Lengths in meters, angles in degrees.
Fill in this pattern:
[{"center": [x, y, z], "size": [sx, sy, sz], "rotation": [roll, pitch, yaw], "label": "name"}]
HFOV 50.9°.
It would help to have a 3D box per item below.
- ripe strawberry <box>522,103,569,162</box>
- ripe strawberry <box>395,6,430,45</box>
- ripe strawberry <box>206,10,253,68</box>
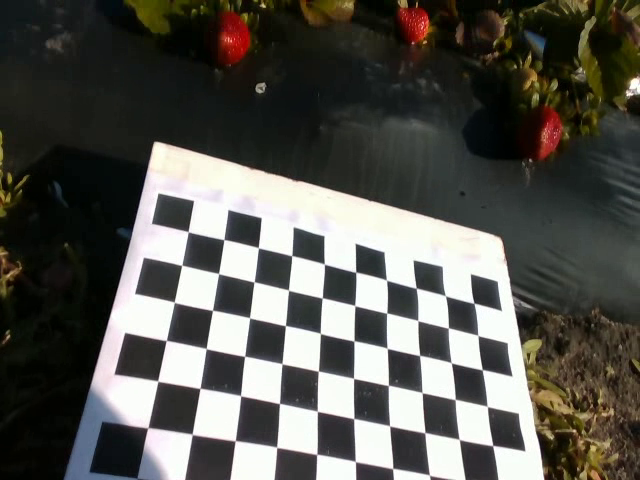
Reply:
[{"center": [0.179, -0.067, 0.522], "size": [0.042, 0.042, 0.059], "rotation": [36, 38, -7], "label": "ripe strawberry"}, {"center": [0.085, -0.186, 0.588], "size": [0.047, 0.035, 0.035], "rotation": [21, -39, -25], "label": "ripe strawberry"}, {"center": [-0.072, -0.149, 0.488], "size": [0.045, 0.041, 0.055], "rotation": [25, 20, -16], "label": "ripe strawberry"}]
